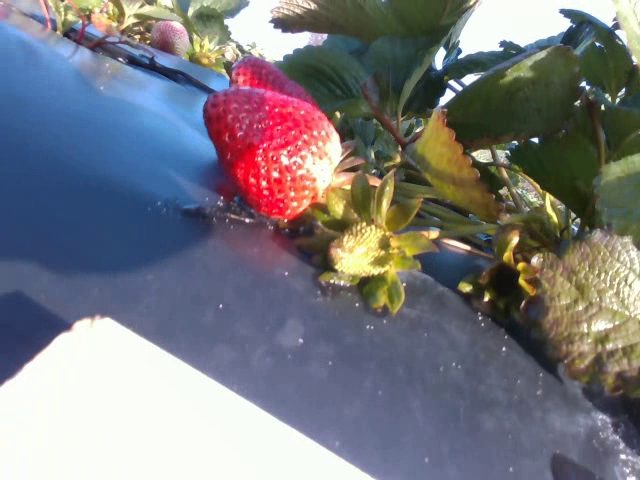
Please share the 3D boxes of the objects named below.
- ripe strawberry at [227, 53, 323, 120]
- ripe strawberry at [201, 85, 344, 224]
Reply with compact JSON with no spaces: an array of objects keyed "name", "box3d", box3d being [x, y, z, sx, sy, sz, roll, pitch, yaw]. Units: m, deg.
[{"name":"ripe strawberry","box3d":[-0.020,-0.052,0.259,0.048,0.054,0.039,-30,-5,-37]},{"name":"ripe strawberry","box3d":[-0.015,-0.032,0.192,0.038,0.043,0.053,-36,-40,18]}]
